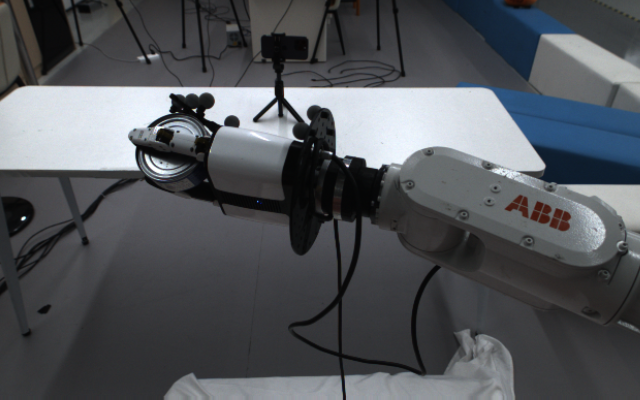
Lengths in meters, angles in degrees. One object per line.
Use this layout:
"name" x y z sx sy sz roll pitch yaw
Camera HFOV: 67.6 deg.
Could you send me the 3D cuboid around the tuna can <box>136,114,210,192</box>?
"tuna can" -0.162 -0.054 0.555 0.085 0.034 0.085 -4 67 10
